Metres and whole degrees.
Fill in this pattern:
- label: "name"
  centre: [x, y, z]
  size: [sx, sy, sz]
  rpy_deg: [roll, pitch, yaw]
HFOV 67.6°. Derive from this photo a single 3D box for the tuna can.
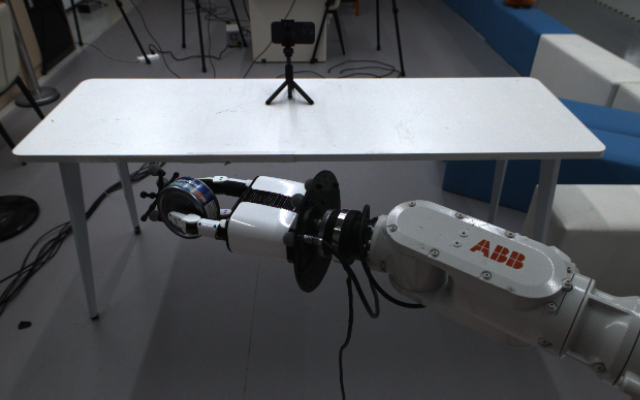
- label: "tuna can"
  centre: [-0.184, 0.010, 0.686]
  size: [0.085, 0.085, 0.034]
  rpy_deg: [13, 32, 15]
